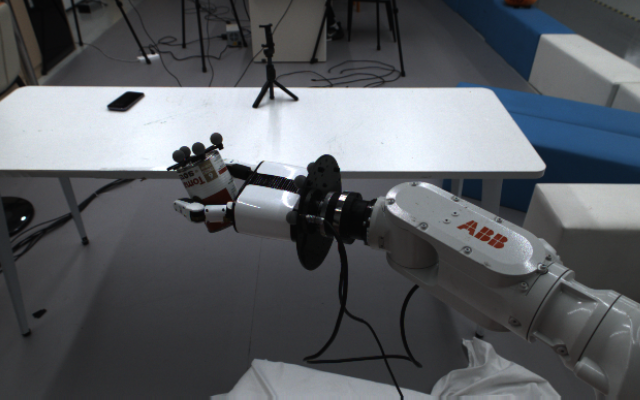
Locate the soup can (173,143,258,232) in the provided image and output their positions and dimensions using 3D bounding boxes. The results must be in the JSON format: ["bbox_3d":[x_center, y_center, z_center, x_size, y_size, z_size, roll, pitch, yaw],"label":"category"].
[{"bbox_3d":[-0.154,-0.011,0.703,0.067,0.101,0.067,-23,16,7],"label":"soup can"}]
